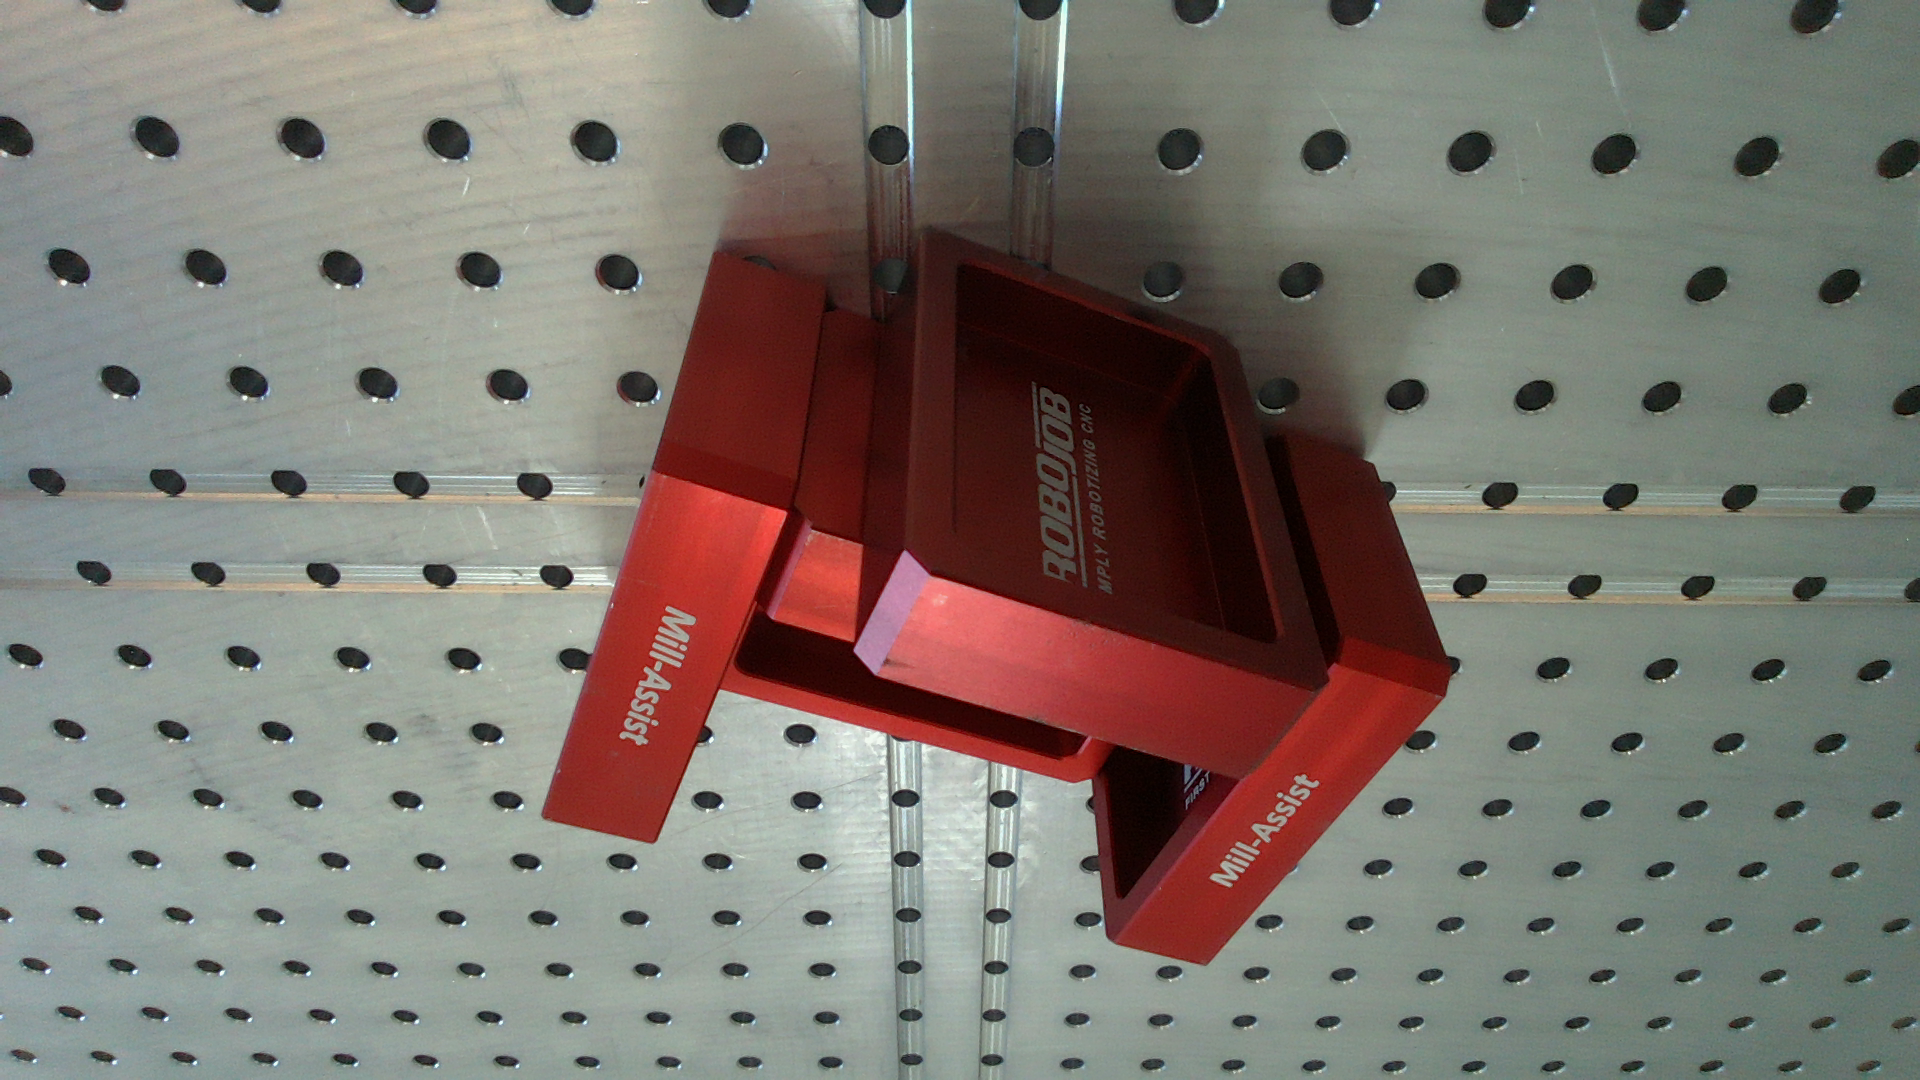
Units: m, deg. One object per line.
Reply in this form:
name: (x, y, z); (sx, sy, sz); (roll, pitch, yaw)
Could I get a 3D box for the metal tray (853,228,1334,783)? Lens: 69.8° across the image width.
metal tray: (0.026, -0.014, 0.312); (0.090, 0.130, 0.030); (17, 128, -15)

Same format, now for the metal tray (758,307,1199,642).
metal tray: (0.019, -0.005, 0.347); (0.130, 0.090, 0.030); (17, 129, -14)

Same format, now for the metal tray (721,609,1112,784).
metal tray: (-0.003, 0.020, 0.406); (0.130, 0.030, 0.090); (17, 128, -14)

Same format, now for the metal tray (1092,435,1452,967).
metal tray: (0.079, 0.047, 0.390); (0.030, 0.090, 0.130); (17, 128, -14)

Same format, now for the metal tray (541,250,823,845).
metal tray: (-0.072, 0.004, 0.353); (0.030, 0.090, 0.130); (16, 128, -14)
